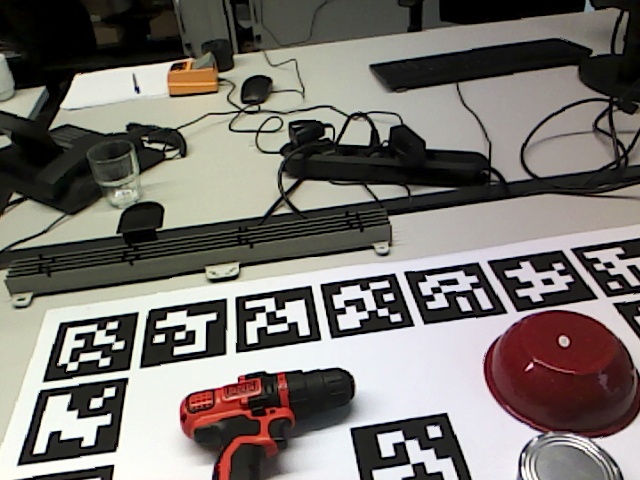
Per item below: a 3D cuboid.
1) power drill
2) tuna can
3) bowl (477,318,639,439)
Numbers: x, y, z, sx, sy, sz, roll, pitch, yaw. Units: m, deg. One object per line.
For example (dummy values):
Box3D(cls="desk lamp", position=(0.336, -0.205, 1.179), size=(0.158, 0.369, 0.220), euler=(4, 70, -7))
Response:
Box3D(cls="power drill", position=(-0.048, 0.213, 0.567), size=(0.184, 0.057, 0.188), euler=(-6, 33, -6))
Box3D(cls="tuna can", position=(0.216, 0.212, 0.543), size=(0.086, 0.033, 0.086), euler=(-2, 36, 1))
Box3D(cls="bowl", position=(0.249, 0.131, 0.651), size=(0.162, 0.055, 0.162), euler=(-7, 29, 4))
